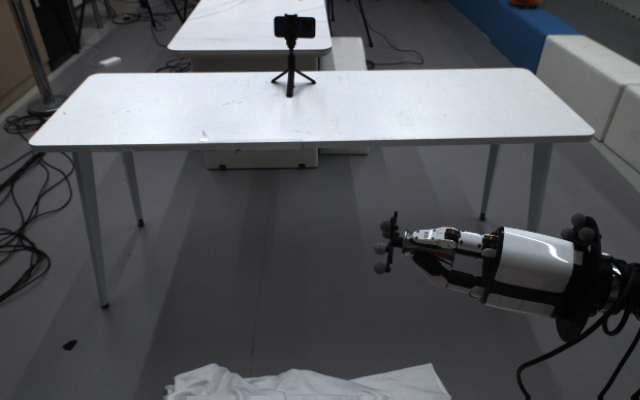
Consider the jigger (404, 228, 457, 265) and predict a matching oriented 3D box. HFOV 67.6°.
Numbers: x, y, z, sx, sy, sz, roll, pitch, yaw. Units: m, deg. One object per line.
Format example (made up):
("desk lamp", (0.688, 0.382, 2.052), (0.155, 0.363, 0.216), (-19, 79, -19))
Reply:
("jigger", (0.155, 0.059, 0.656), (0.071, 0.043, 0.043), (8, 35, 15))
